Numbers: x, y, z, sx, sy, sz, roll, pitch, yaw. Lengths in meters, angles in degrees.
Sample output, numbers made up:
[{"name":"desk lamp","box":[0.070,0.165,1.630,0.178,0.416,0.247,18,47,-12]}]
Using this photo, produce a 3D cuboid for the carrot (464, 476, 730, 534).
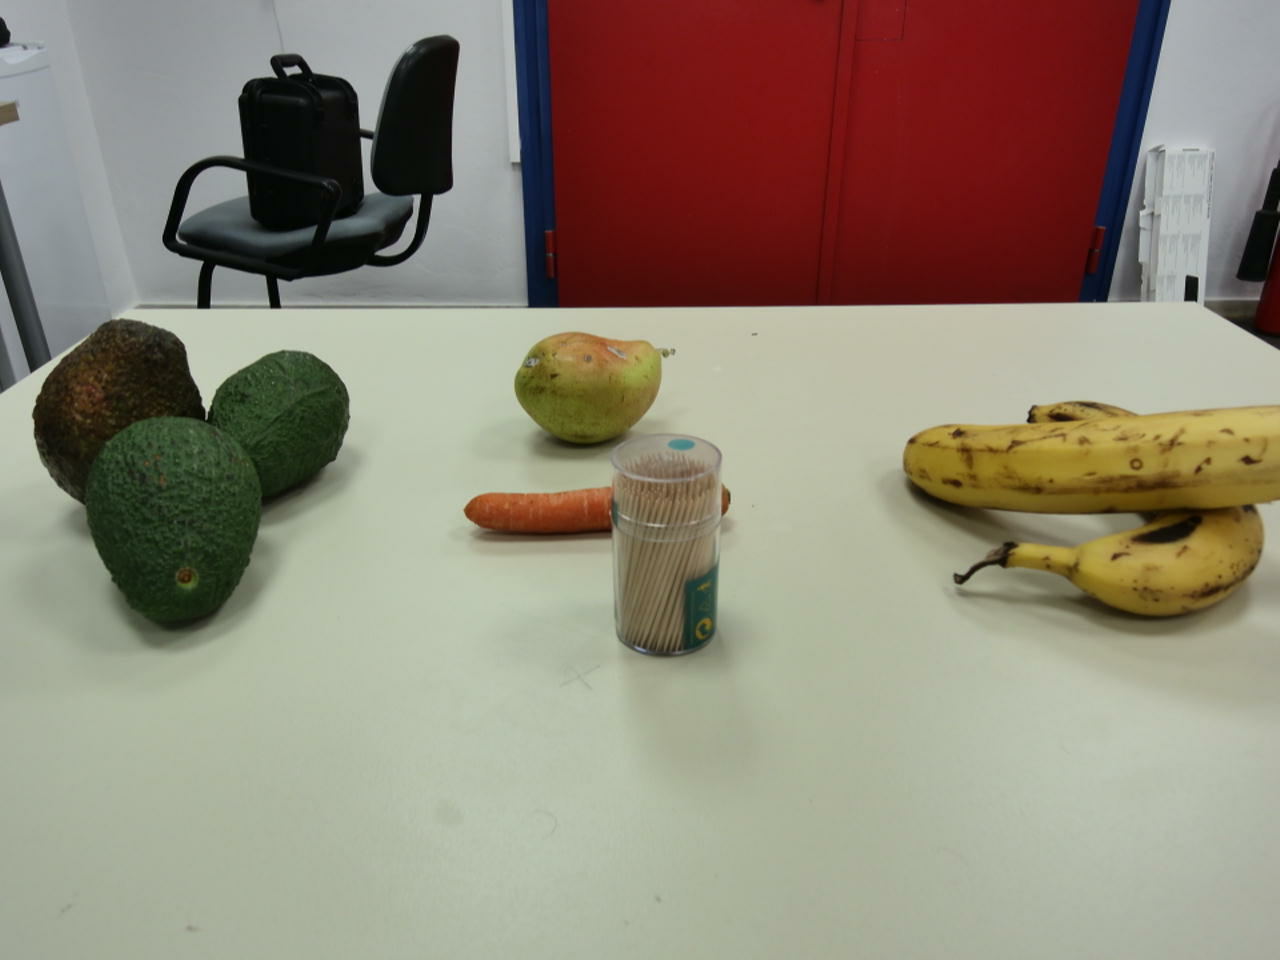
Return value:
[{"name":"carrot","box":[-0.019,0.011,0.458,0.122,0.023,0.024,-1,24,-3]}]
